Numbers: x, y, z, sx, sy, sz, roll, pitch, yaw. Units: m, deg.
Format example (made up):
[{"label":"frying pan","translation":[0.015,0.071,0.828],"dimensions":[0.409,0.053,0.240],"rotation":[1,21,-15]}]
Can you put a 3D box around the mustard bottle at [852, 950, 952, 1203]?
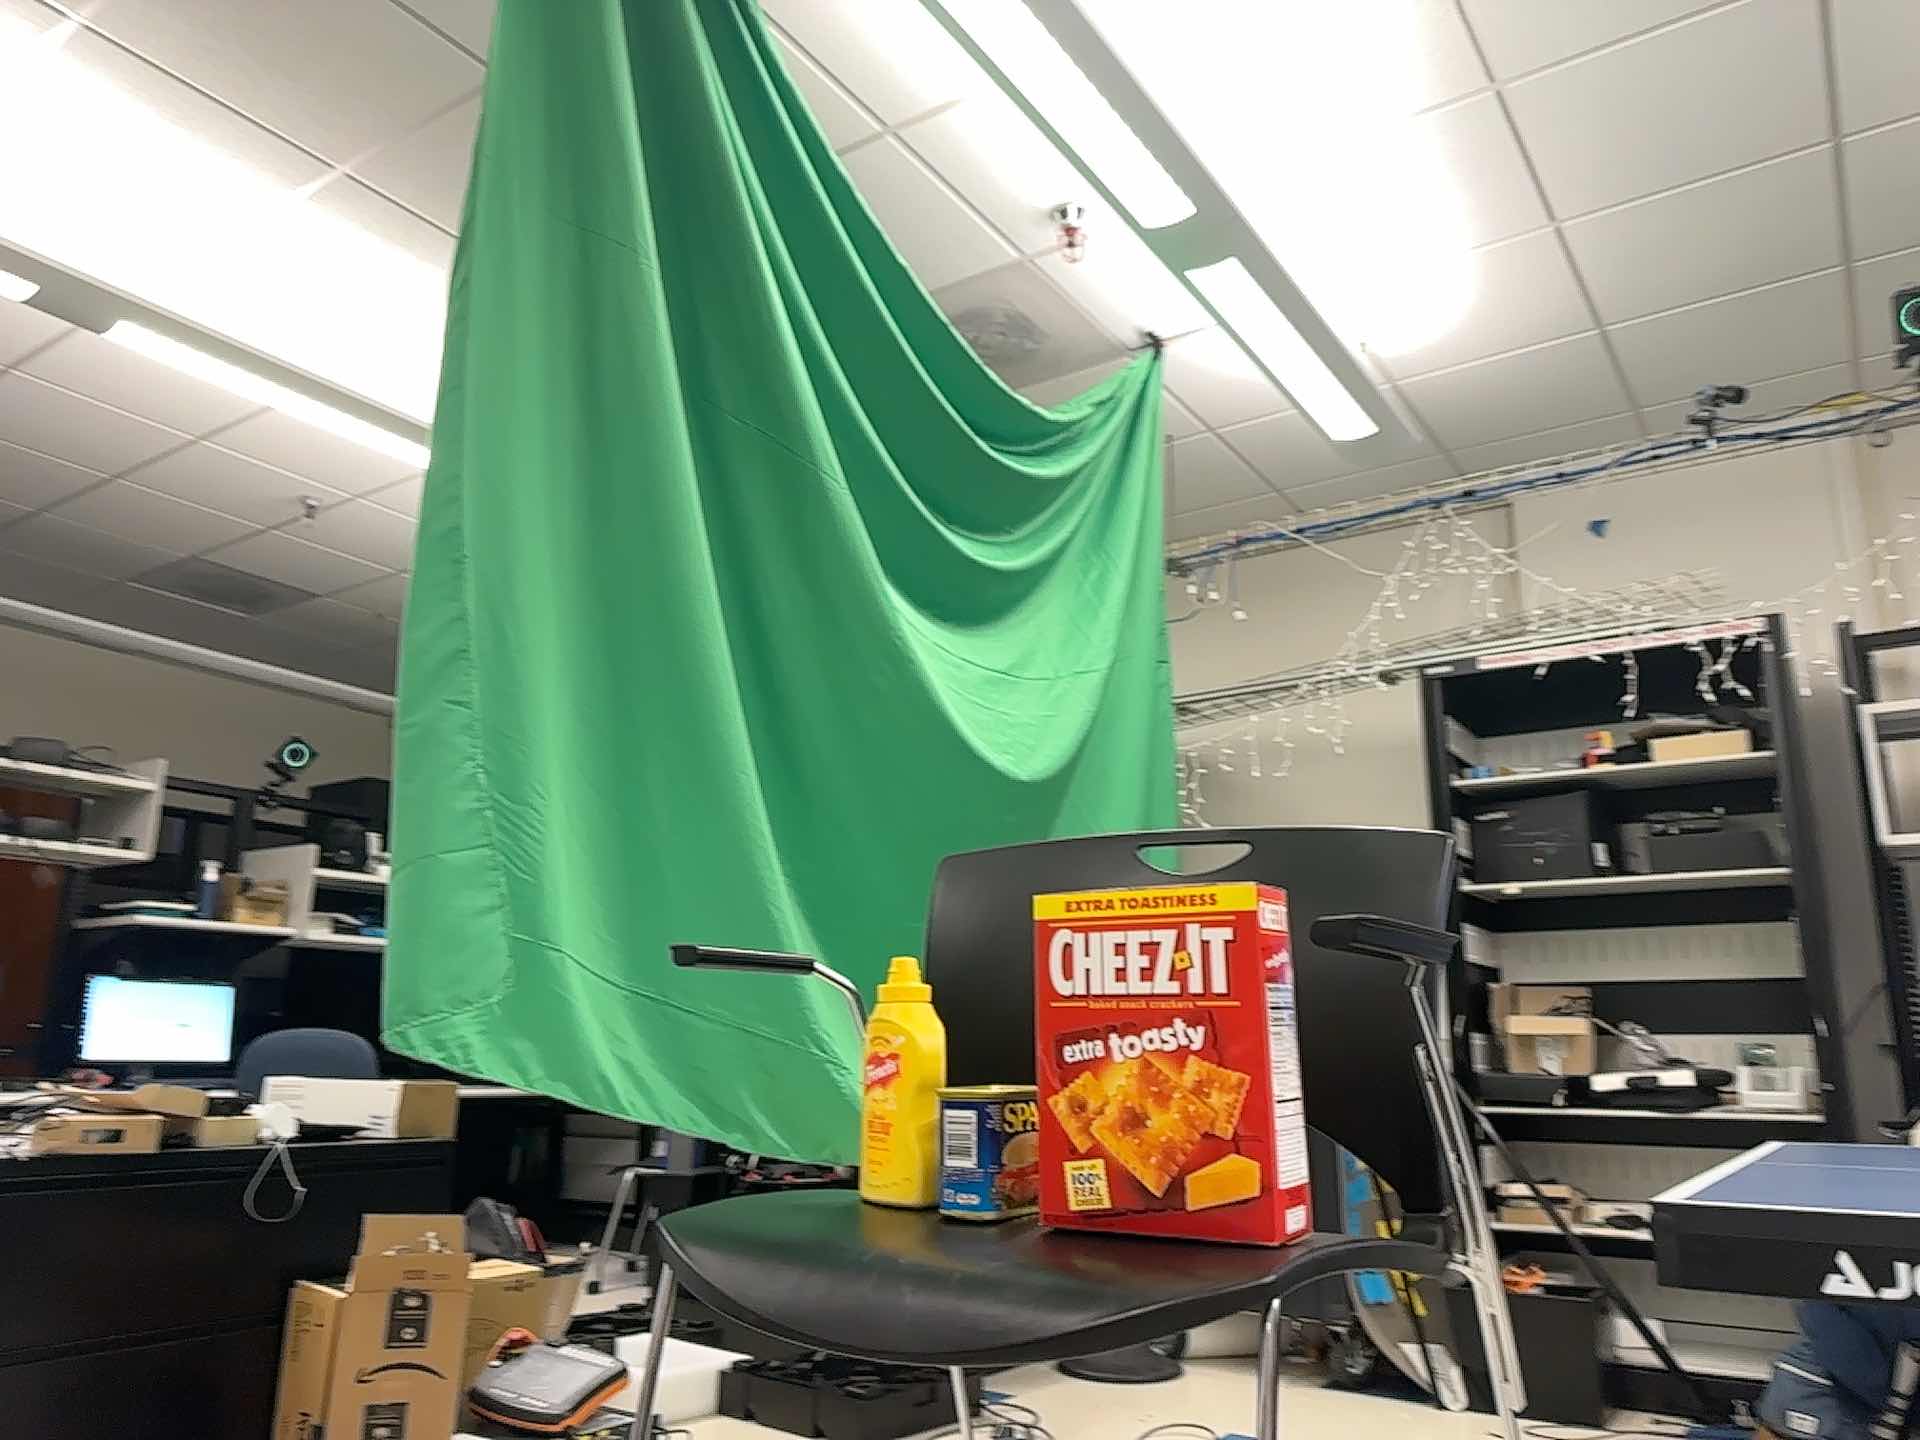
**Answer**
[{"label":"mustard bottle","translation":[-0.045,0.272,1.047],"dimensions":[0.054,0.184,0.092],"rotation":[8,-13,-39]}]

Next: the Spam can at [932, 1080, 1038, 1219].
[{"label":"Spam can","translation":[0.026,0.310,0.983],"dimensions":[0.056,0.083,0.100],"rotation":[-7,-12,36]}]

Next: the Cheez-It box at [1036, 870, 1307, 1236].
[{"label":"Cheez-It box","translation":[0.135,0.218,0.900],"dimensions":[0.159,0.214,0.062],"rotation":[-9,-16,34]}]
